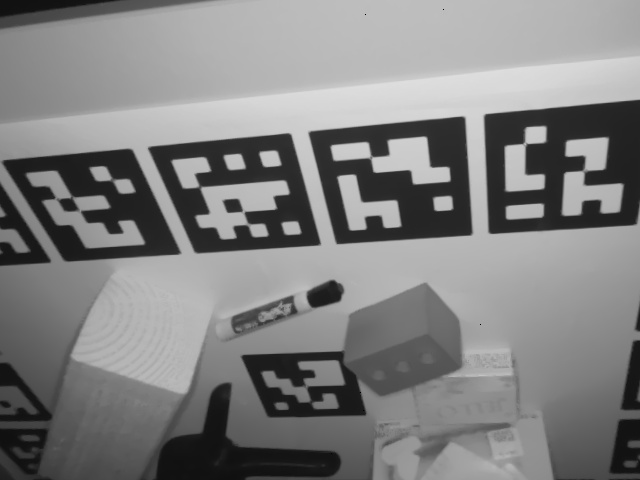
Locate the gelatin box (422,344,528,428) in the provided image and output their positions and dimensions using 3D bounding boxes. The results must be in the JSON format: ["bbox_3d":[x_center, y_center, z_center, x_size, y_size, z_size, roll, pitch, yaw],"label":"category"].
[{"bbox_3d":[0.137,0.132,0.618,0.089,0.030,0.073,-7,125,11],"label":"gelatin box"}]

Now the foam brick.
[{"bbox_3d":[0.079,0.081,0.567,0.077,0.052,0.053,-28,118,25],"label":"foam brick"}]

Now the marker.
[{"bbox_3d":[-0.013,0.057,0.577,0.119,0.020,0.019,-23,120,22],"label":"marker"}]

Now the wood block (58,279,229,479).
[{"bbox_3d":[-0.160,0.144,0.621,0.090,0.092,0.203,20,130,-12],"label":"wood block"}]

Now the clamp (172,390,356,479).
[{"bbox_3d":[-0.089,0.242,0.720,0.200,0.037,0.166,-34,117,27],"label":"clamp"}]

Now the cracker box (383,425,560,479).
[{"bbox_3d":[0.134,0.272,0.602,0.163,0.216,0.072,-8,128,15],"label":"cracker box"}]
